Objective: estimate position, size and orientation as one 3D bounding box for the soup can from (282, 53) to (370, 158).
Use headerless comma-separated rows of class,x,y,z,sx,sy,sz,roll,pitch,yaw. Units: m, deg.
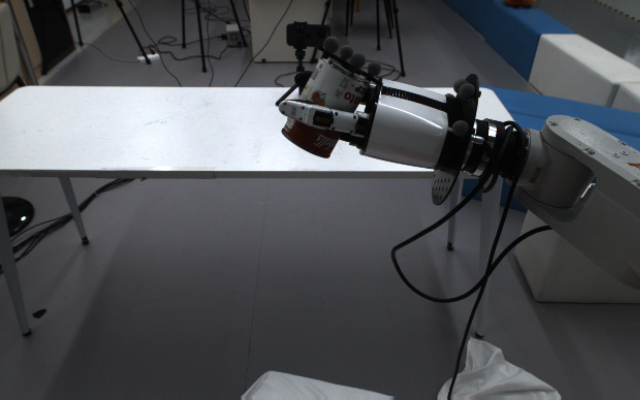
soup can,0.008,-0.110,0.576,0.067,0.101,0.067,27,18,-10
